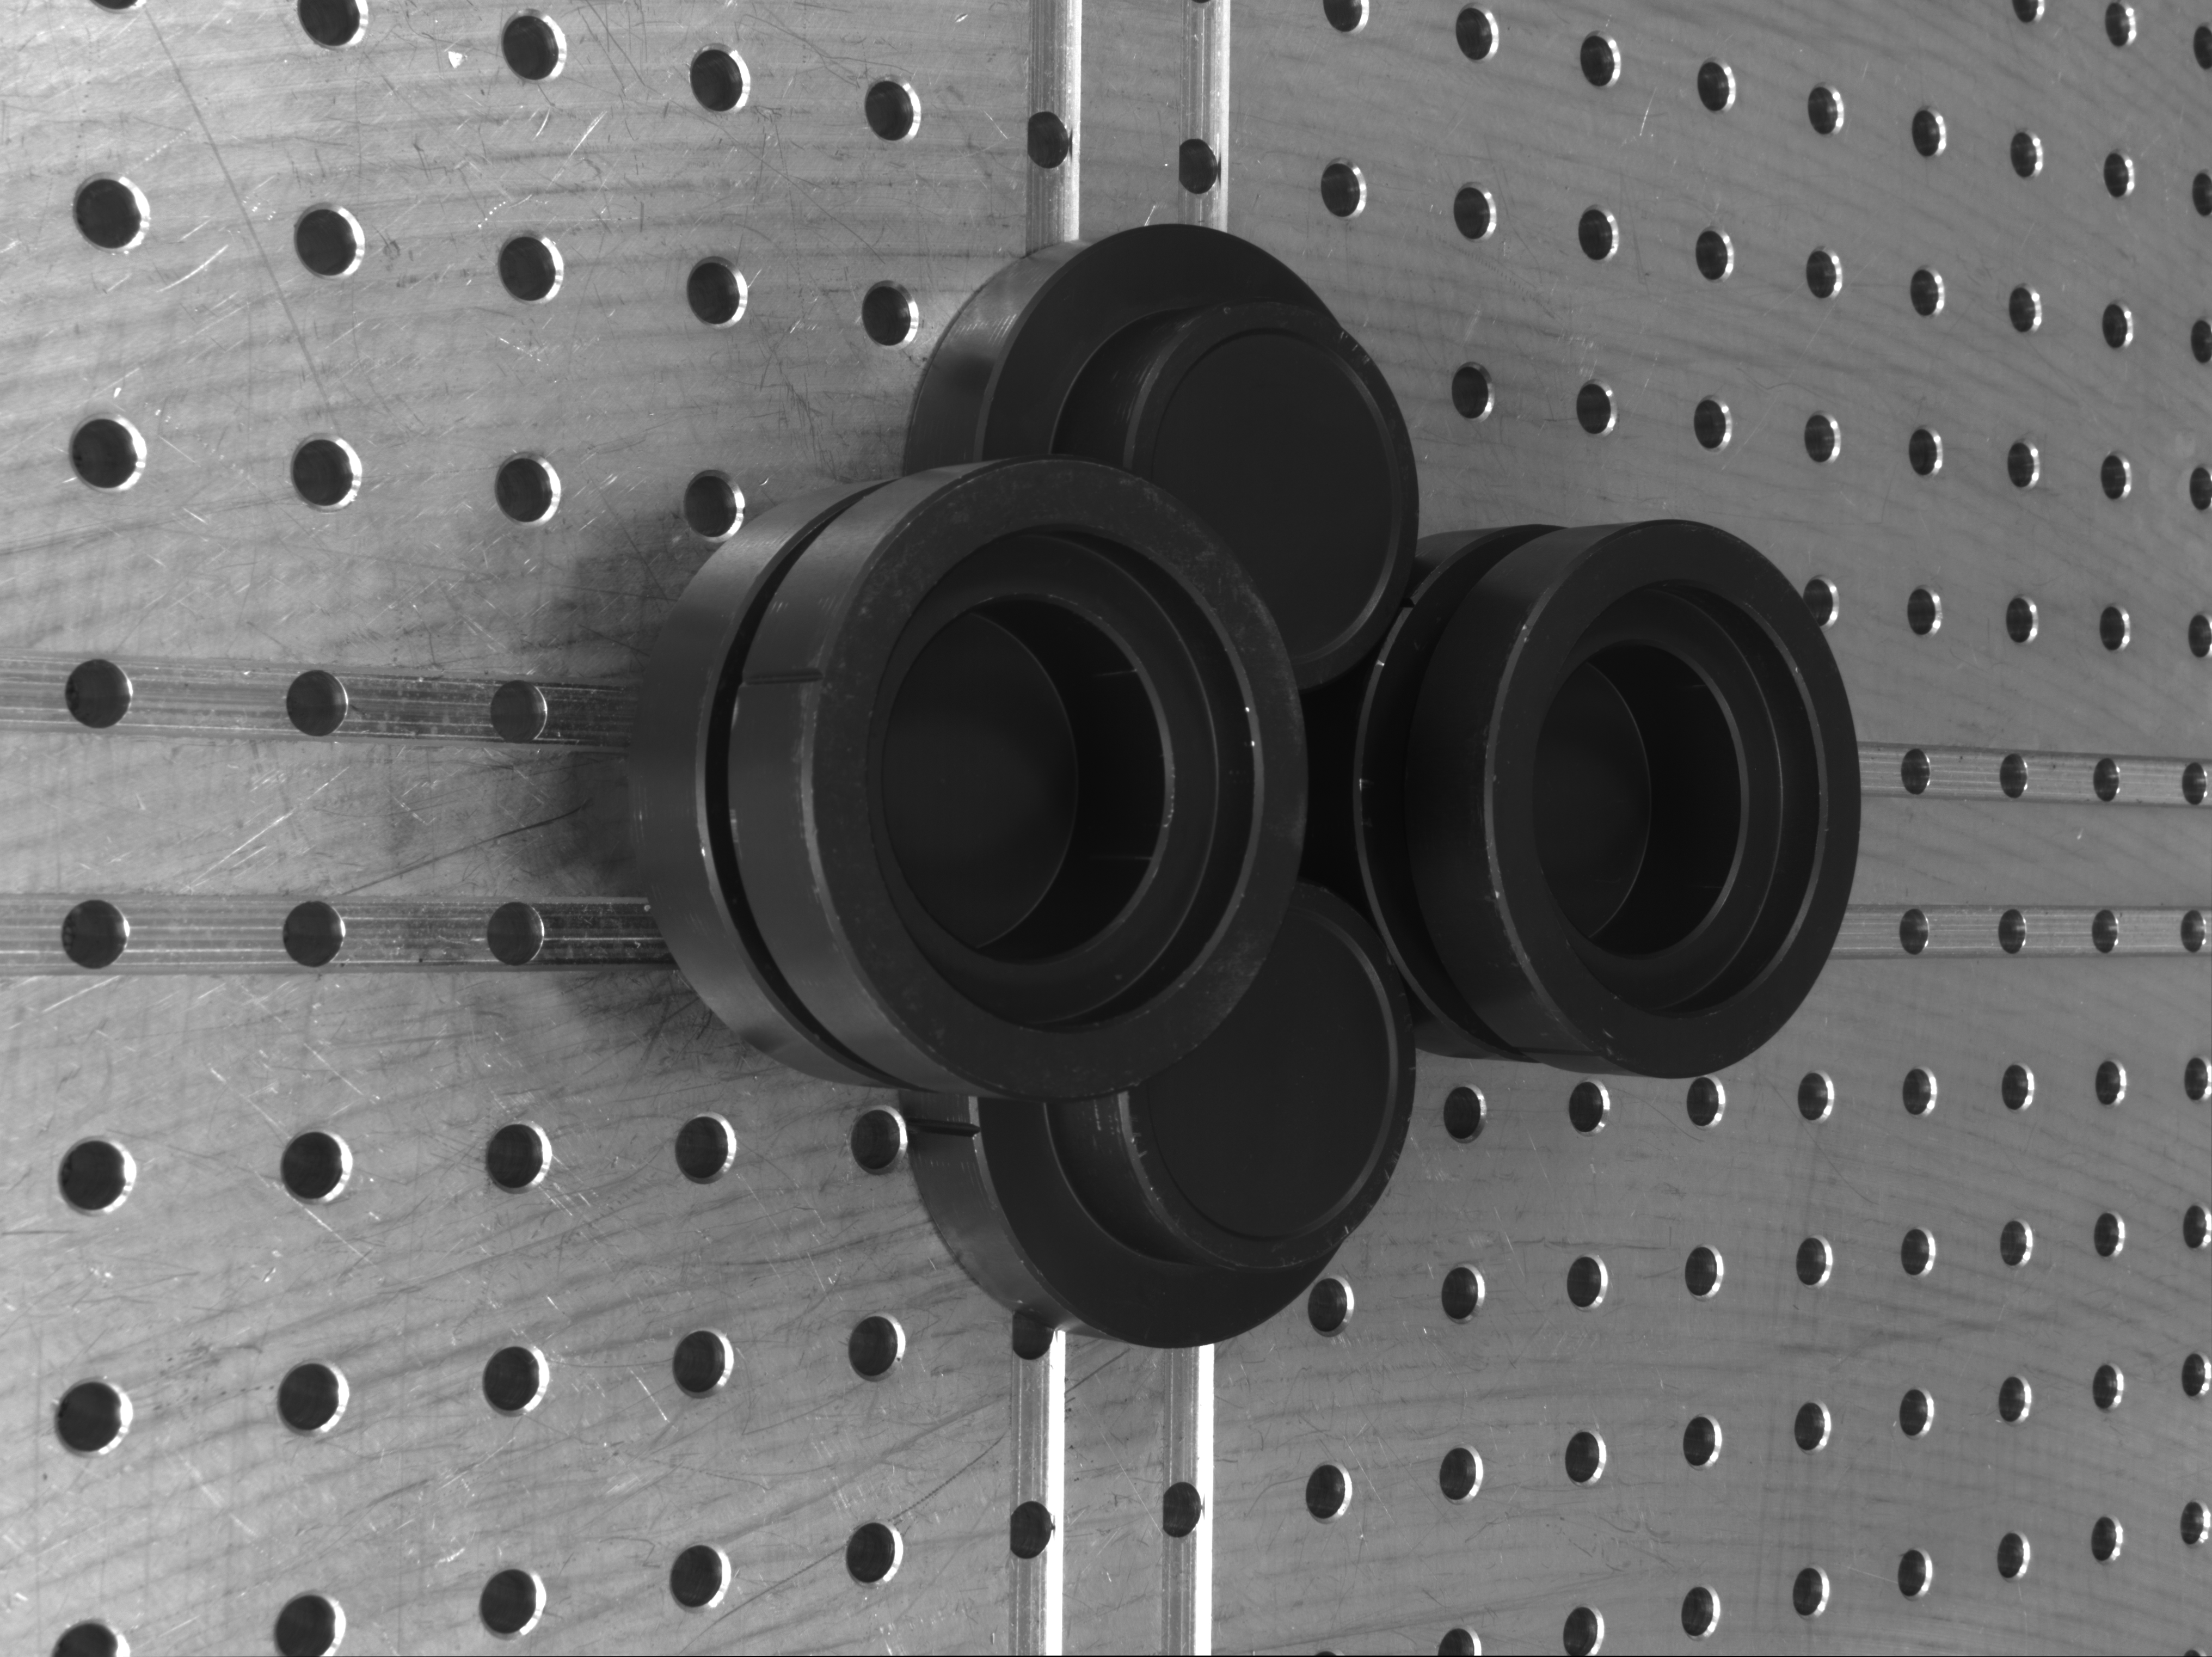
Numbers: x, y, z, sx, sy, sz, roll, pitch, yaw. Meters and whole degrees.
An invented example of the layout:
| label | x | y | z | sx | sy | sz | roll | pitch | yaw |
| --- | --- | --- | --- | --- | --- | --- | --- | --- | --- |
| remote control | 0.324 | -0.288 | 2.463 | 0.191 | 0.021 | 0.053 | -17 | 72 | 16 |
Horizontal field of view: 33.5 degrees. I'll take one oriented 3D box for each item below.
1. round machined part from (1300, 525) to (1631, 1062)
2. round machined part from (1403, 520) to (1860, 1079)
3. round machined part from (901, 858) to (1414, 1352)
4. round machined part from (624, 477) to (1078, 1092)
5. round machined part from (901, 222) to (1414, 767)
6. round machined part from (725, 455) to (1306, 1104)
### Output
| label | x | y | z | sx | sy | sz | roll | pitch | yaw |
| --- | --- | --- | --- | --- | --- | --- | --- | --- | --- |
| round machined part | 0.068 | -0.006 | 0.684 | 0.098 | 0.042 | 0.098 | 0 | 90 | -40 |
| round machined part | 0.088 | -0.005 | 0.659 | 0.098 | 0.042 | 0.098 | 0 | 90 | -40 |
| round machined part | 0.015 | 0.042 | 0.640 | 0.098 | 0.042 | 0.098 | 0 | 90 | -40 |
| round machined part | -0.037 | -0.007 | 0.597 | 0.098 | 0.042 | 0.098 | 0 | 90 | -40 |
| round machined part | 0.015 | -0.057 | 0.641 | 0.098 | 0.042 | 0.098 | 0 | 90 | -40 |
| round machined part | -0.019 | -0.007 | 0.571 | 0.098 | 0.042 | 0.098 | 0 | 90 | -40 |
